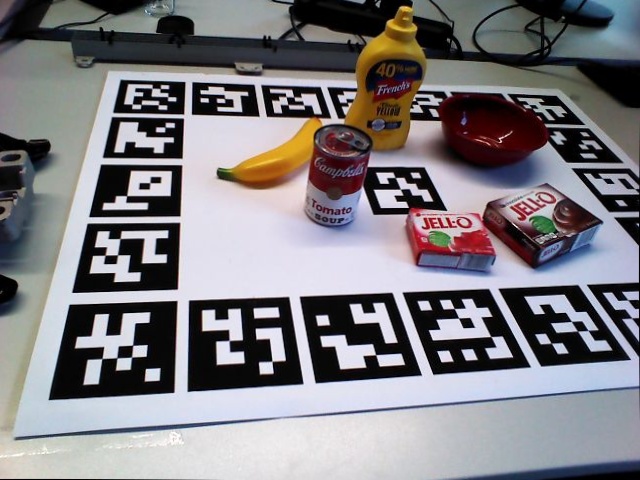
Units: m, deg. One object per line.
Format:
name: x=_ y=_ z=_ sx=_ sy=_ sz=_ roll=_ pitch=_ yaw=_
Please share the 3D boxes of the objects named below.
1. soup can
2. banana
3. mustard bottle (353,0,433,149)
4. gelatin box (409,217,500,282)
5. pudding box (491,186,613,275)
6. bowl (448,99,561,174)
soup can: x=0.015 y=-0.078 z=0.597 sx=0.068 sy=0.102 sz=0.067 roll=6 pitch=41 yaw=-6
banana: x=-0.046 y=-0.125 z=0.697 sx=0.074 sy=0.039 sz=0.196 roll=22 pitch=43 yaw=27
mustard bottle: x=0.104 y=-0.217 z=0.692 sx=0.096 sy=0.192 sz=0.058 roll=0 pitch=41 yaw=-11
gelatin box: x=0.151 y=0.009 z=0.593 sx=0.089 sy=0.030 sz=0.073 roll=4 pitch=46 yaw=-5
pudding box: x=0.282 y=-0.014 z=0.634 sx=0.113 sy=0.039 sz=0.090 roll=-19 pitch=55 yaw=-27
bowl: x=0.264 y=-0.147 z=0.766 sx=0.162 sy=0.055 sz=0.161 roll=4 pitch=42 yaw=-4
